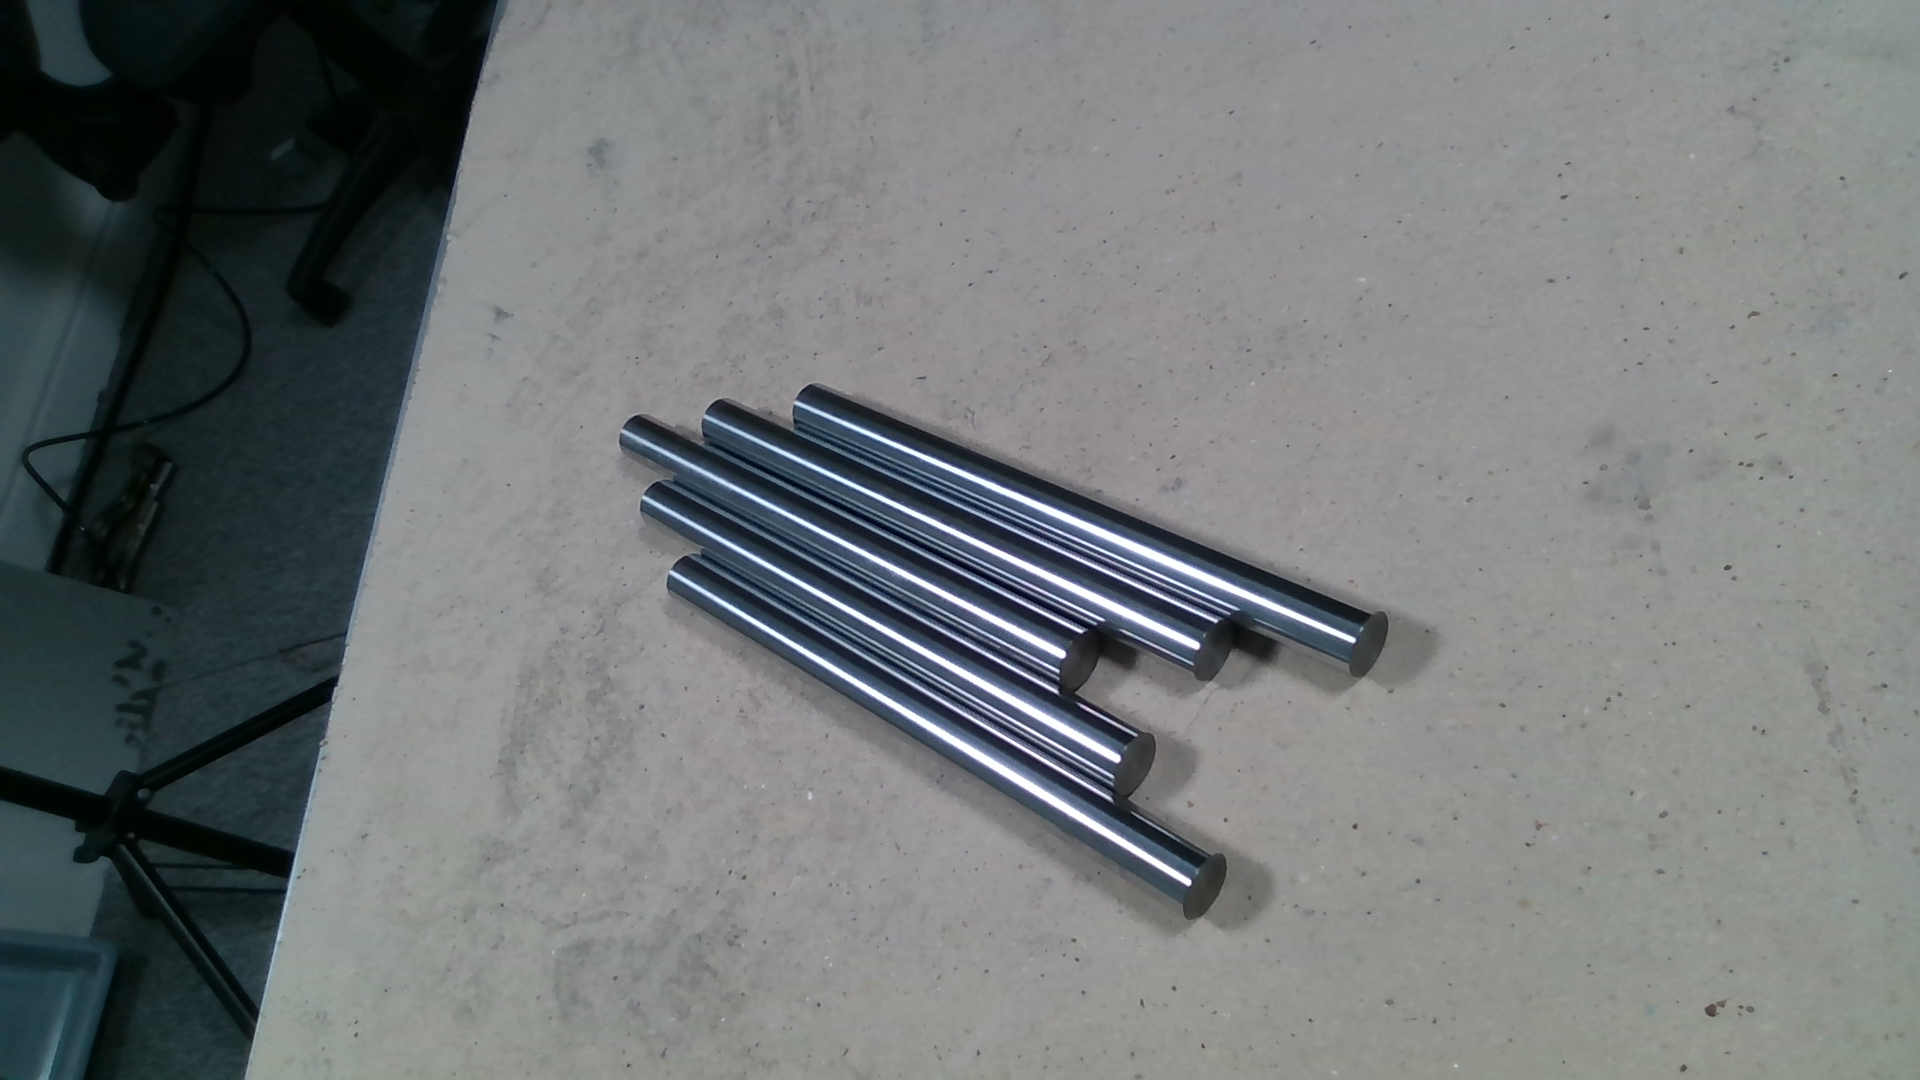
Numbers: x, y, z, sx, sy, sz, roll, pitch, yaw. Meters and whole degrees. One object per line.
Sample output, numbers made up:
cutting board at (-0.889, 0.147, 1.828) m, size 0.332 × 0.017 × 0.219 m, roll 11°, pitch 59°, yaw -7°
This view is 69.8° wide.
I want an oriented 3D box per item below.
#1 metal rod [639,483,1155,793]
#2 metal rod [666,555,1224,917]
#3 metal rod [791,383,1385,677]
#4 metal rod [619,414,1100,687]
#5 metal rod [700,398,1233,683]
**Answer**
metal rod at (-0.043, 0.032, 0.595) m, size 0.300 × 0.025 × 0.025 m, roll 25°, pitch 80°, yaw 38°
metal rod at (-0.023, 0.068, 0.564) m, size 0.300 × 0.025 × 0.025 m, roll 25°, pitch 80°, yaw 38°
metal rod at (0.035, -0.014, 0.571) m, size 0.300 × 0.025 × 0.025 m, roll 25°, pitch 80°, yaw 38°
metal rod at (-0.060, -0.003, 0.625) m, size 0.300 × 0.025 × 0.025 m, roll 25°, pitch 80°, yaw 38°
metal rod at (-0.014, -0.009, 0.599) m, size 0.300 × 0.025 × 0.025 m, roll 25°, pitch 80°, yaw 38°
